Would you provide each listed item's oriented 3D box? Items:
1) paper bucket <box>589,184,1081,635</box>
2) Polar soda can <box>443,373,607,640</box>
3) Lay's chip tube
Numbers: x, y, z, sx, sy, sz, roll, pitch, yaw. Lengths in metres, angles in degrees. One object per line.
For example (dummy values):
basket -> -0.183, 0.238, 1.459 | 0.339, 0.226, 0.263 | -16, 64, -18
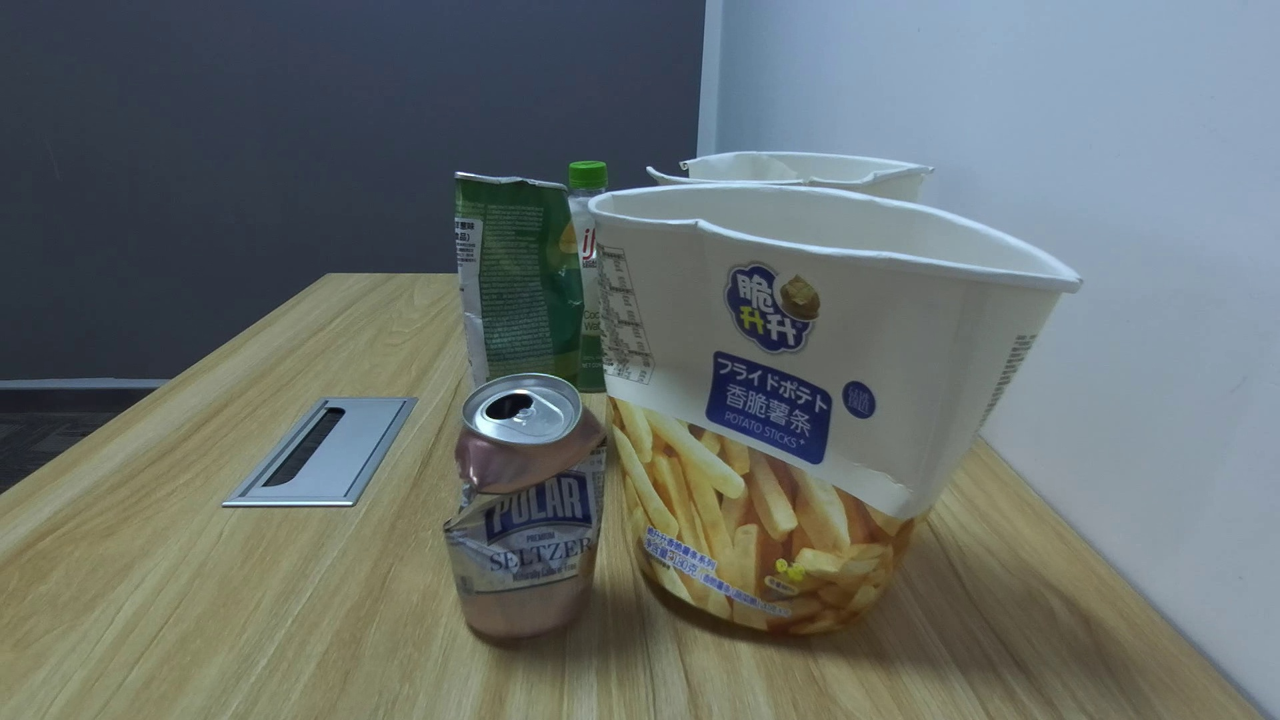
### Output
paper bucket -> 0.070, 0.019, 0.370 | 0.218, 0.199, 0.147 | 3, 22, 7
Polar soda can -> -0.056, 0.078, 0.341 | 0.066, 0.121, 0.071 | 12, 18, 18
Lay's chip tube -> -0.078, -0.024, 0.477 | 0.079, 0.199, 0.071 | -2, 14, -11
